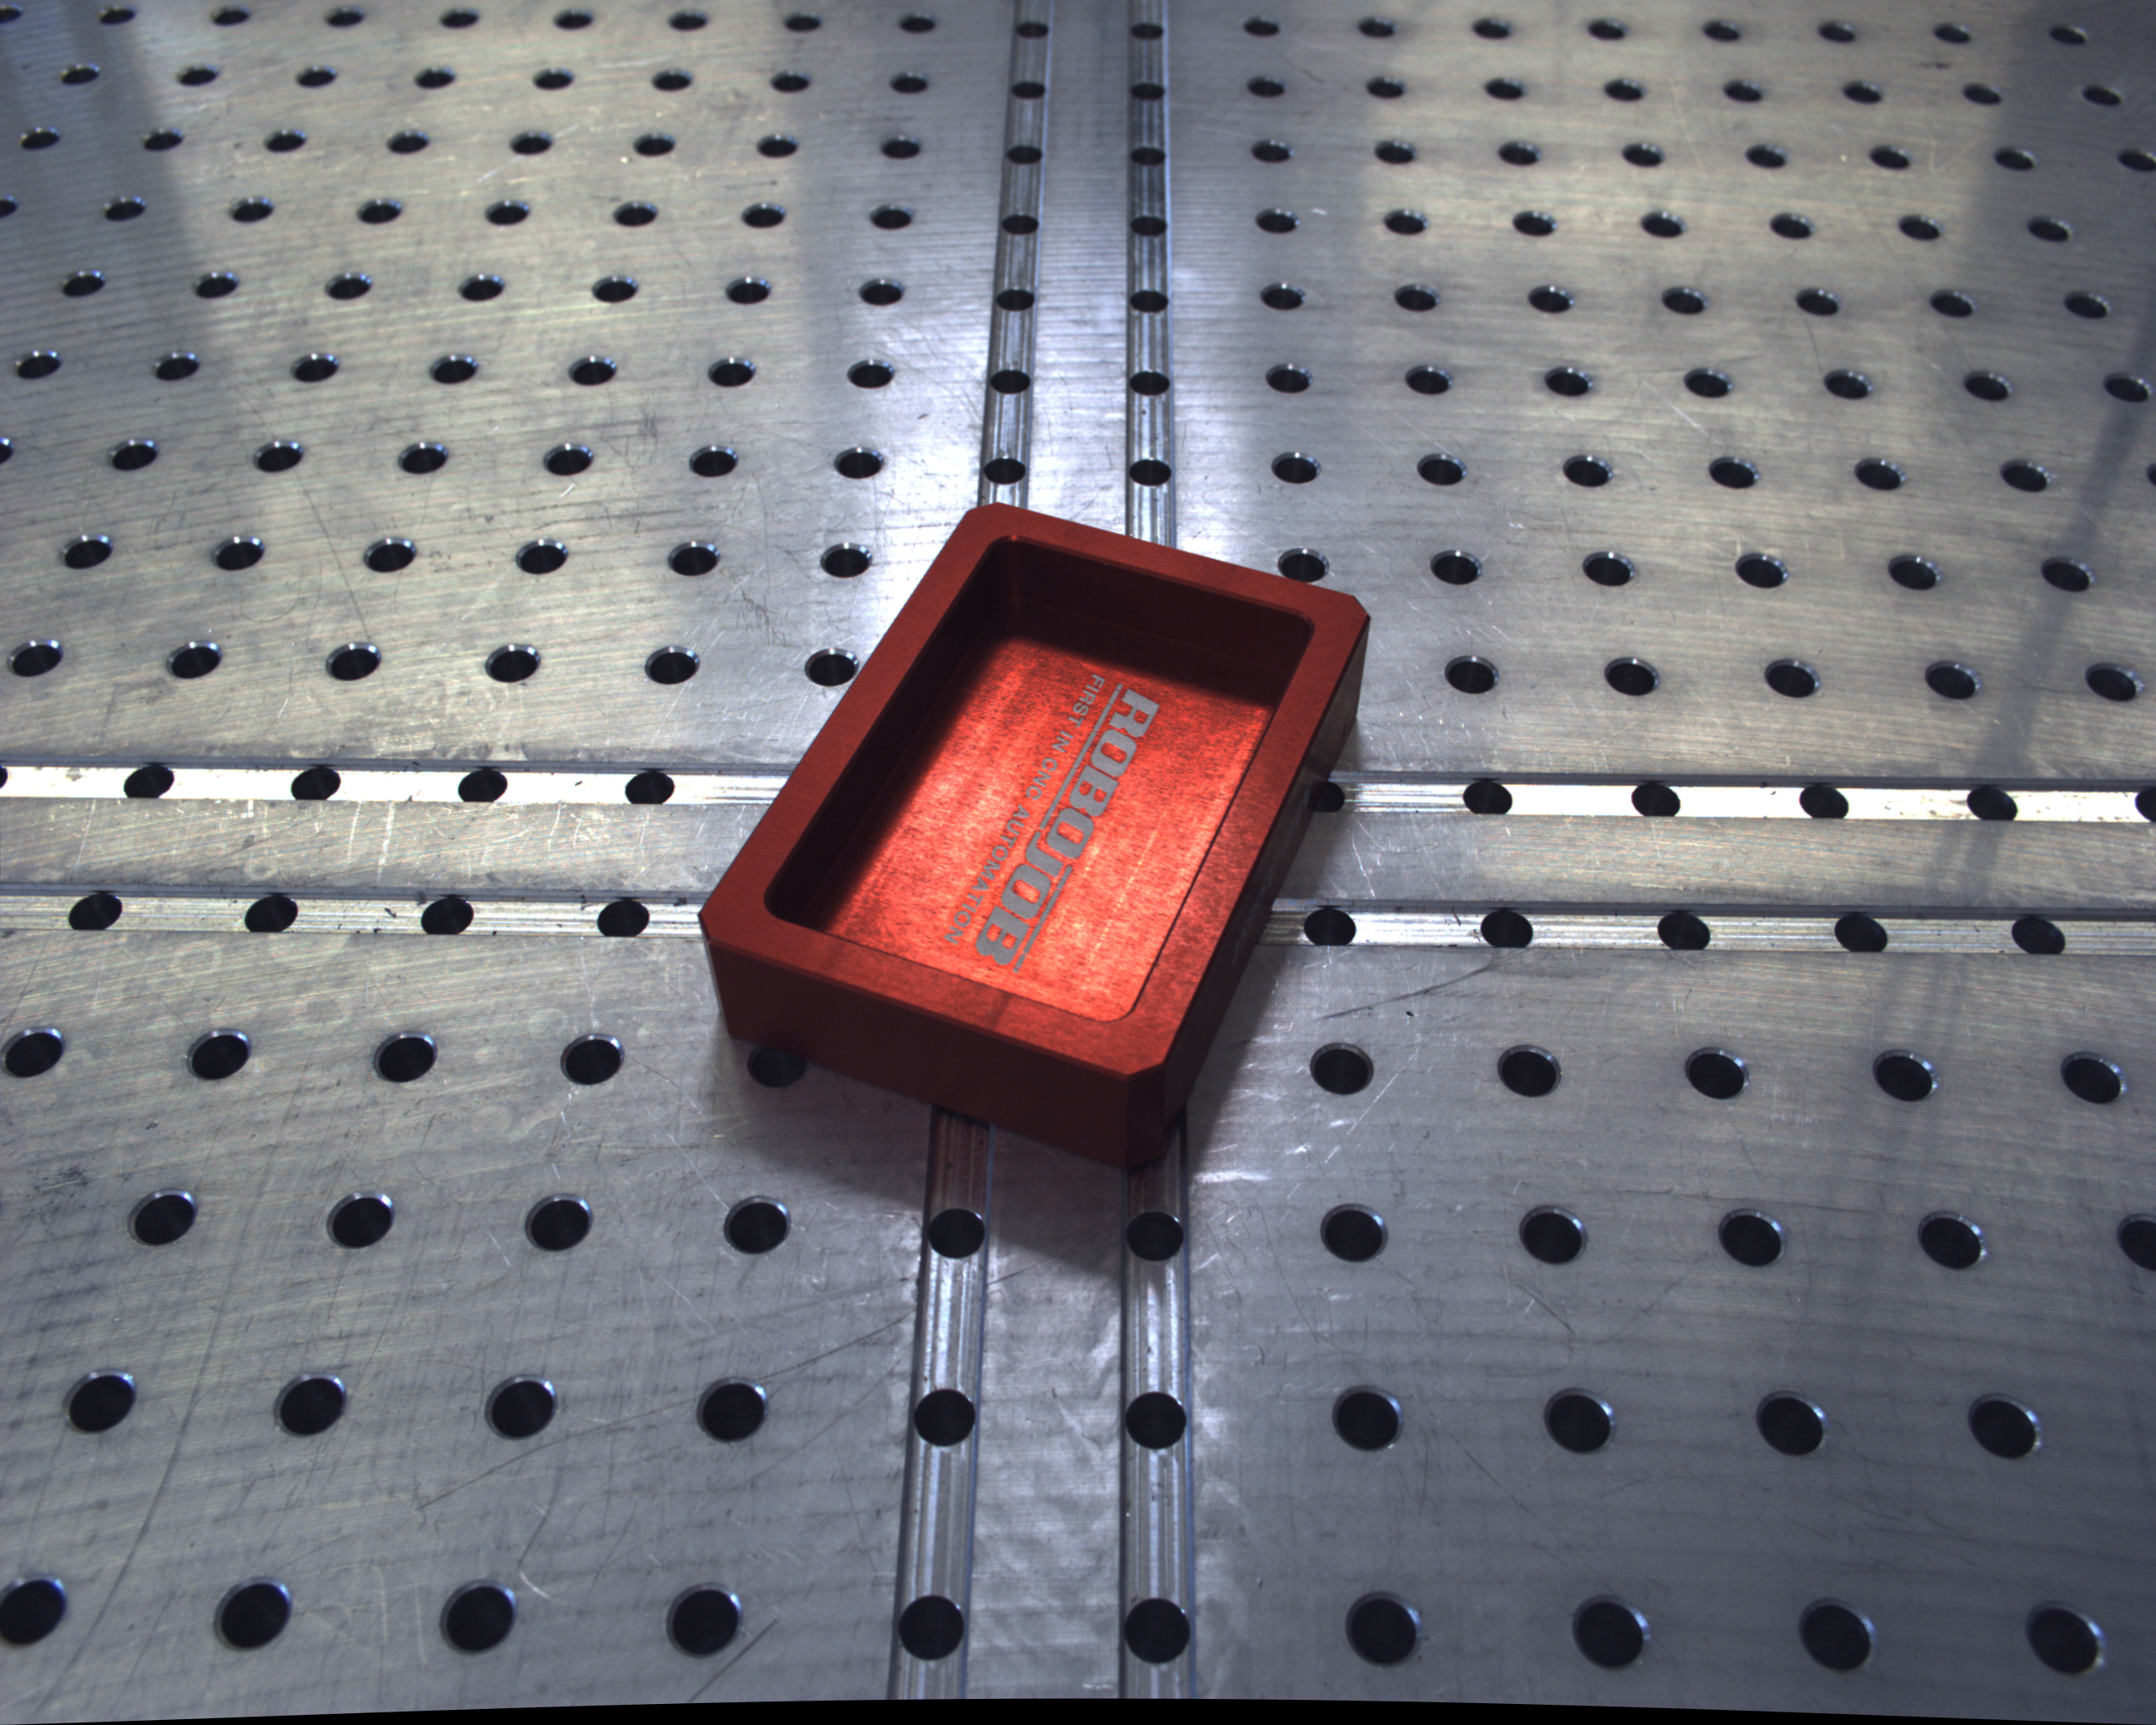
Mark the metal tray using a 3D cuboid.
[{"bbox_3d":[-0.004,-0.011,0.414,0.090,0.030,0.130,17,52,13],"label":"metal tray"}]
